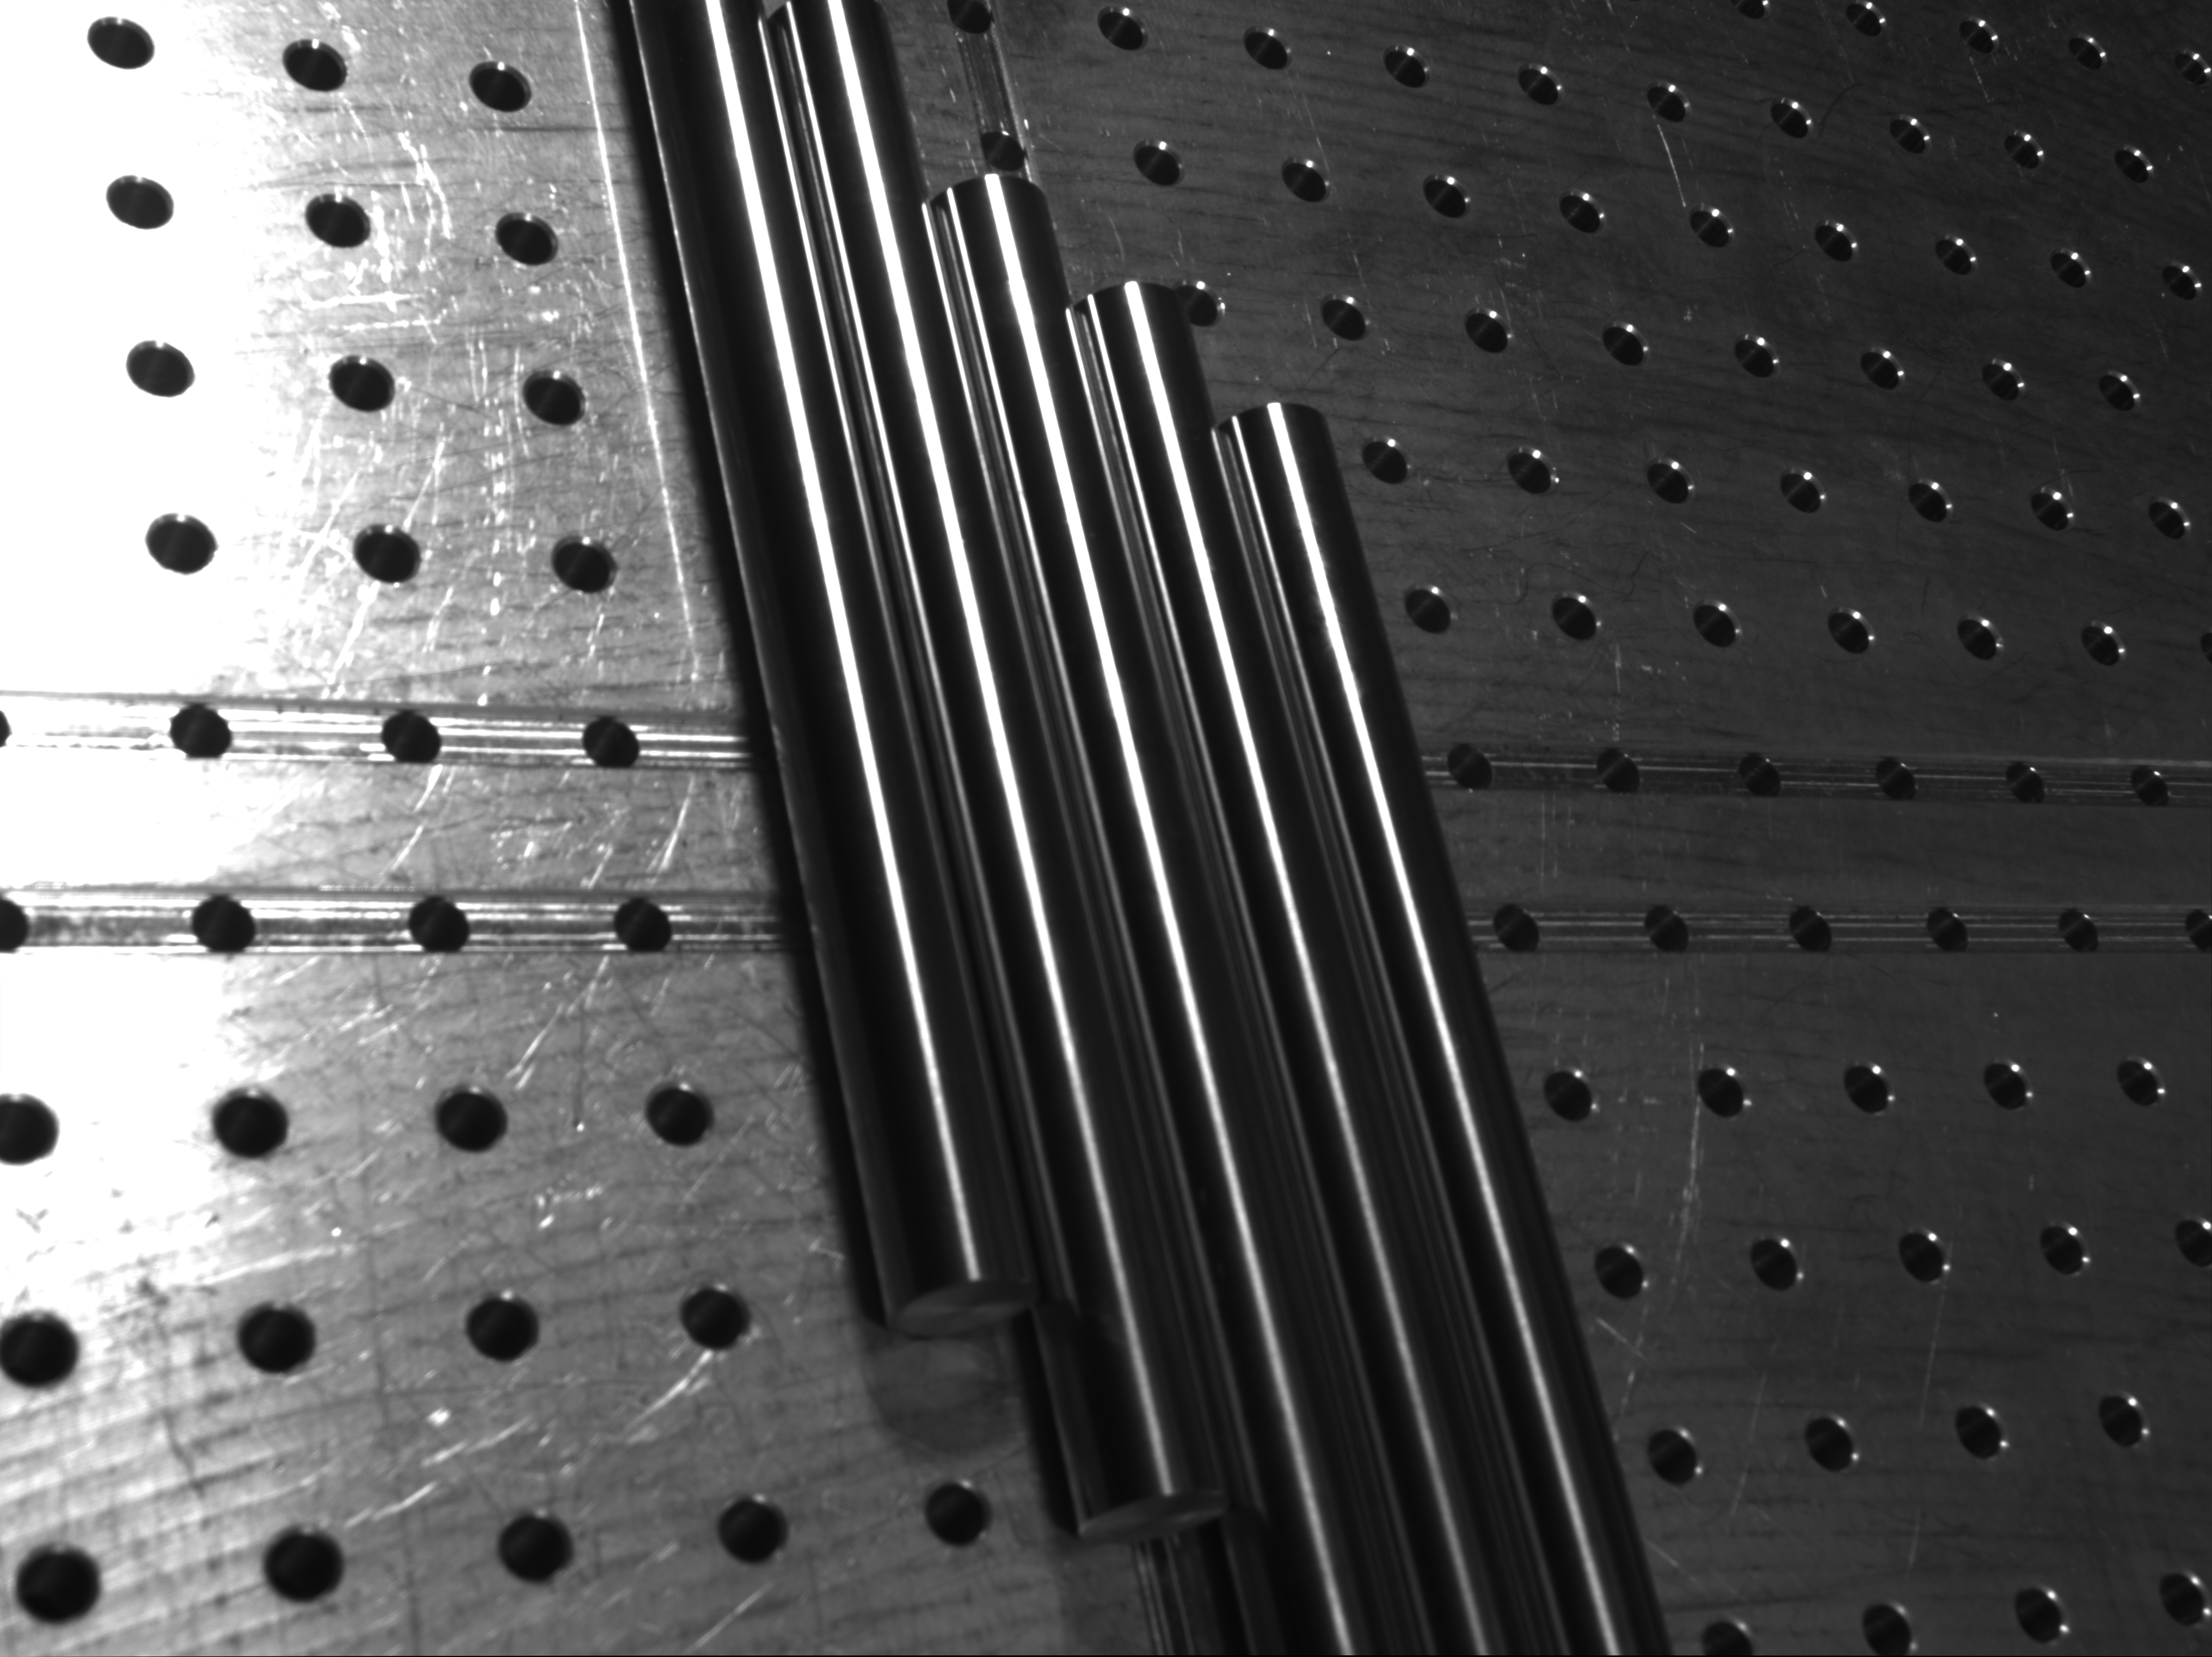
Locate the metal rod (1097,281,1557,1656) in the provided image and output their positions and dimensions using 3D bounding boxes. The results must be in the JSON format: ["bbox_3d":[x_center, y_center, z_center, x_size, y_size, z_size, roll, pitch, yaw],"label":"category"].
[{"bbox_3d":[0.037,0.034,0.641,0.025,0.025,0.300,1,61,-28],"label":"metal rod"}]

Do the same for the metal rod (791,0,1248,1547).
[{"bbox_3d":[-0.020,-0.022,0.645,0.025,0.025,0.300,1,61,-28],"label":"metal rod"}]

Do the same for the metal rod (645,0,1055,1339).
[{"bbox_3d":[-0.051,-0.055,0.649,0.025,0.025,0.300,1,61,-28],"label":"metal rod"}]

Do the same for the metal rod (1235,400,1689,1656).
[{"bbox_3d":[0.065,0.056,0.642,0.025,0.025,0.300,1,61,-28],"label":"metal rod"}]

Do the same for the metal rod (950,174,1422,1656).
[{"bbox_3d":[0.010,0.014,0.639,0.025,0.025,0.300,1,61,-28],"label":"metal rod"}]
